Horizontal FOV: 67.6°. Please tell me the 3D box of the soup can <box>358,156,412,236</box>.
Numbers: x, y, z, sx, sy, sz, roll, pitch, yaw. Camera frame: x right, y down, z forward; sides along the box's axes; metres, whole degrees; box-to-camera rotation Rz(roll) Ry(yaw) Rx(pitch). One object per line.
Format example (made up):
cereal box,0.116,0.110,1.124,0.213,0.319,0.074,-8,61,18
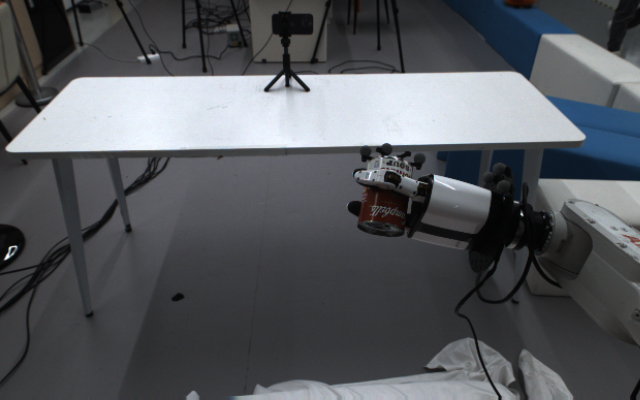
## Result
soup can,0.095,-0.005,0.694,0.067,0.067,0.101,8,72,9
